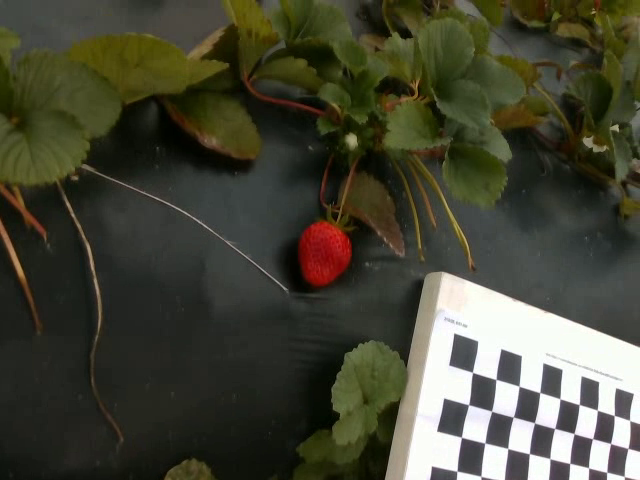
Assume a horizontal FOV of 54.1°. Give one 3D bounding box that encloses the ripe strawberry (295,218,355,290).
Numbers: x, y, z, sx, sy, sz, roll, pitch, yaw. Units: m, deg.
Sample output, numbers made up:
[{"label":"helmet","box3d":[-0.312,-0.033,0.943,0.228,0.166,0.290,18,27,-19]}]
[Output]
[{"label":"ripe strawberry","box3d":[0.002,0.007,0.270,0.028,0.033,0.022,34,-23,-16]}]
